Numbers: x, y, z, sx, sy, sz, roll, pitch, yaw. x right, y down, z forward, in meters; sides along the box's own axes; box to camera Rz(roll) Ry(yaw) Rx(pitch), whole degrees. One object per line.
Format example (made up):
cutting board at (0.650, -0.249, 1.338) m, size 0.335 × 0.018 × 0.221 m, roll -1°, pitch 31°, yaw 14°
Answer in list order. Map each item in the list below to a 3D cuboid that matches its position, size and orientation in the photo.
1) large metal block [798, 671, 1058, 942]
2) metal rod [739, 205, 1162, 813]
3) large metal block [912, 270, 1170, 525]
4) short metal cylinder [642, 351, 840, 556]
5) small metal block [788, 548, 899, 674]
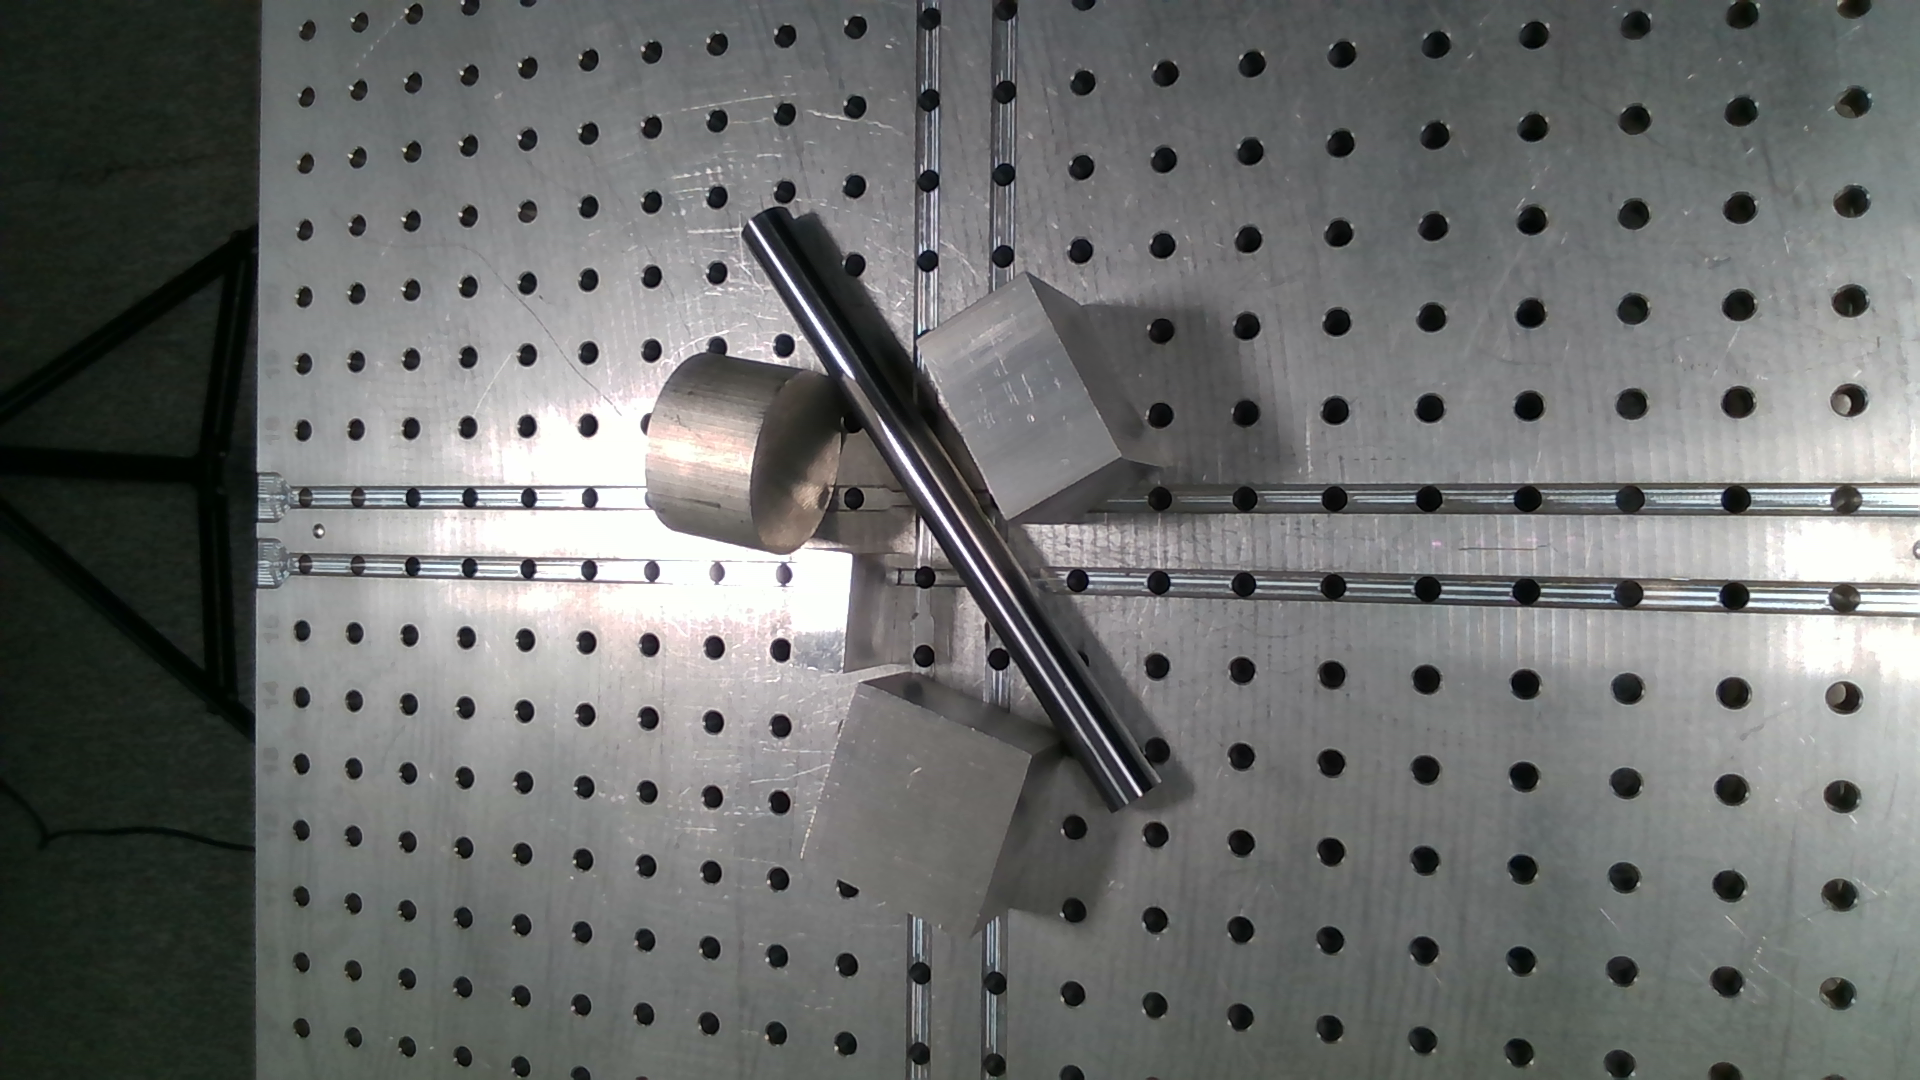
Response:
large metal block at (-0.011, 0.108, 0.577) m, size 0.080 × 0.050 × 0.080 m, roll 20°, pitch 97°, yaw 19°
metal rod at (-0.008, -0.019, 0.590) m, size 0.025 × 0.025 × 0.300 m, roll -36°, pitch 79°, yaw 17°
large metal block at (0.034, -0.053, 0.546) m, size 0.050 × 0.080 × 0.080 m, roll -30°, pitch 80°, yaw 18°
short metal cylinder at (-0.092, -0.038, 0.592) m, size 0.050 × 0.080 × 0.080 m, roll 12°, pitch 95°, yaw 20°
small metal block at (-0.050, 0.029, 0.594) m, size 0.025 × 0.050 × 0.050 m, roll 5°, pitch 92°, yaw 20°
